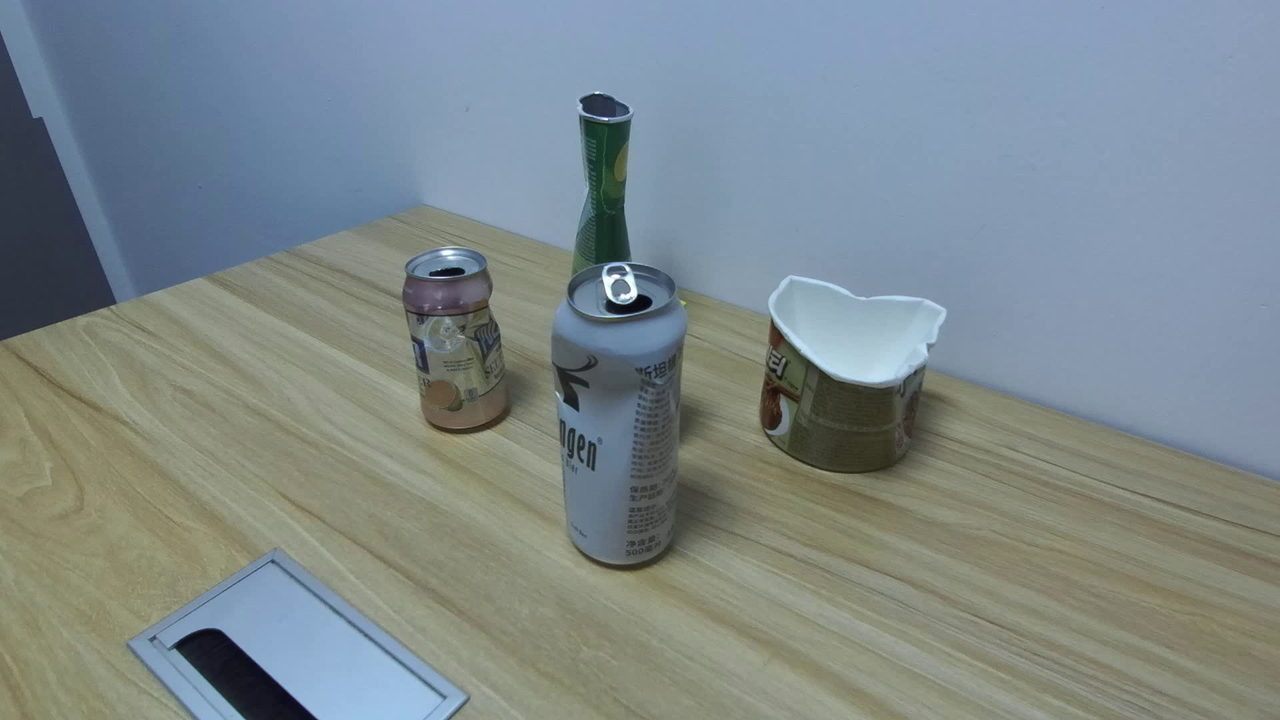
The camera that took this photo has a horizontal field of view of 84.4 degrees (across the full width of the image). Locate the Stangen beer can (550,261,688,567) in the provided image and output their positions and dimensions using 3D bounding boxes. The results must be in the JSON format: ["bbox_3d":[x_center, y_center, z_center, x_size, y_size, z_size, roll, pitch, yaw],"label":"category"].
[{"bbox_3d":[-0.011,0.034,0.387,0.070,0.173,0.070,-1,32,-4],"label":"Stangen beer can"}]

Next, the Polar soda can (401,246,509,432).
[{"bbox_3d":[-0.133,-0.012,0.510,0.067,0.122,0.074,24,37,38],"label":"Polar soda can"}]

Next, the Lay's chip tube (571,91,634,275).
[{"bbox_3d":[-0.031,-0.108,0.587,0.074,0.199,0.069,25,37,35],"label":"Lay's chip tube"}]

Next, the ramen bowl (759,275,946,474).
[{"bbox_3d":[0.142,0.014,0.496,0.113,0.097,0.134,13,33,17],"label":"ramen bowl"}]
